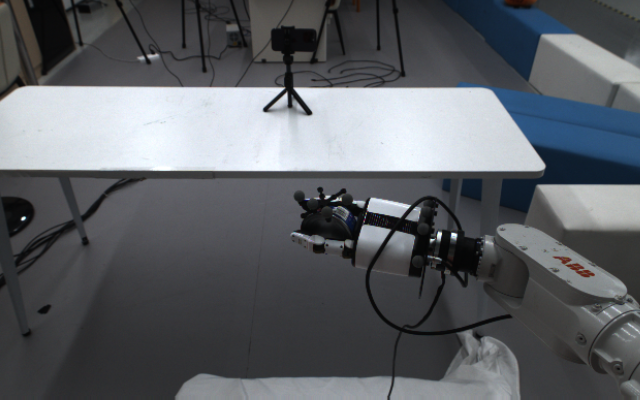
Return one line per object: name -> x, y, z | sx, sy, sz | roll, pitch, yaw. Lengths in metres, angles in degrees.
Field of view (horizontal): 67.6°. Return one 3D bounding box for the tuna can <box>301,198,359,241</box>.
tuna can -> 0.016, 0.044, 0.766 | 0.085, 0.085, 0.034 | 14, 40, 16
